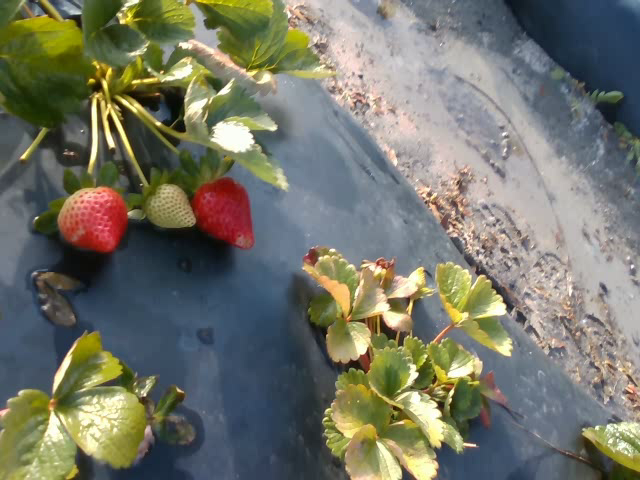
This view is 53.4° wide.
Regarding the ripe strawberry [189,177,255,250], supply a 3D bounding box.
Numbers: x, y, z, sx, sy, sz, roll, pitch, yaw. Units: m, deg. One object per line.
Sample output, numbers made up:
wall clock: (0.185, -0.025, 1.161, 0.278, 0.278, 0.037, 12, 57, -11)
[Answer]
ripe strawberry: (-0.066, -0.016, 0.448, 0.048, 0.065, 0.050, -27, -5, -3)
